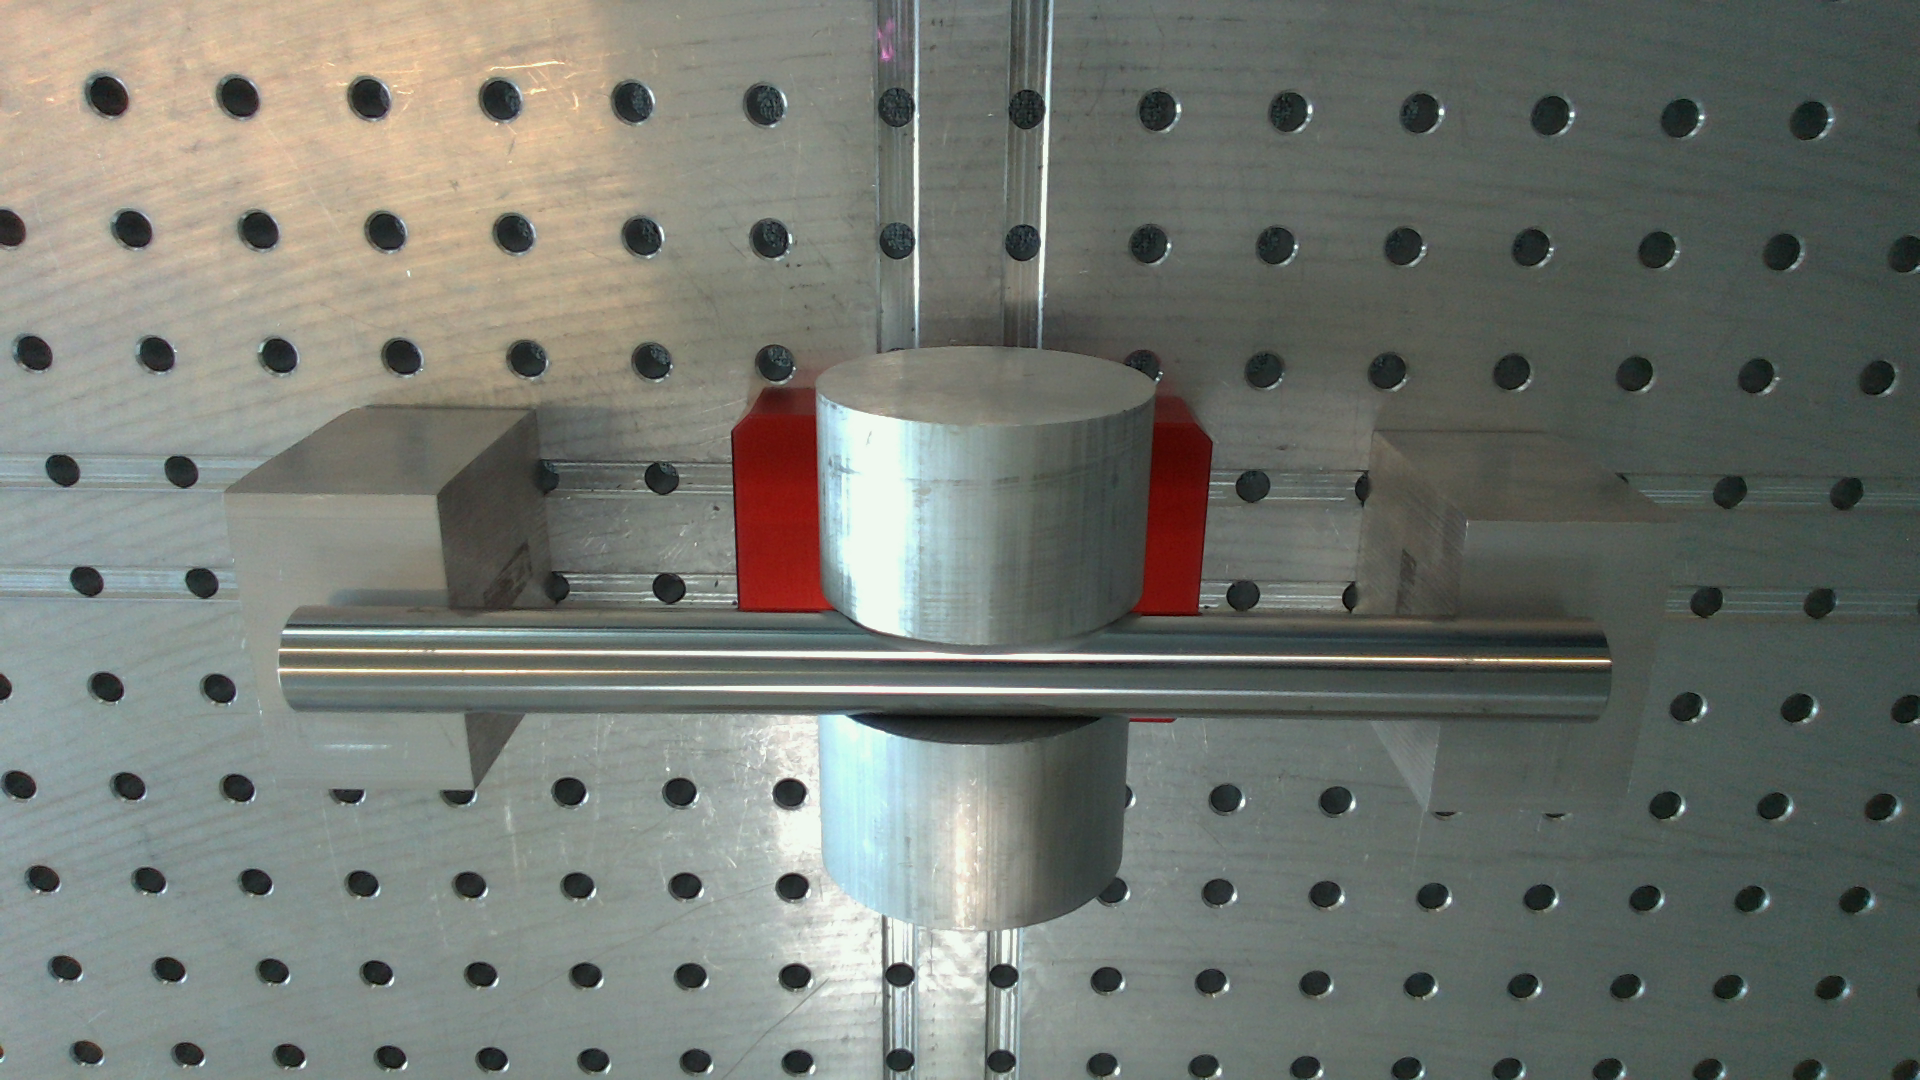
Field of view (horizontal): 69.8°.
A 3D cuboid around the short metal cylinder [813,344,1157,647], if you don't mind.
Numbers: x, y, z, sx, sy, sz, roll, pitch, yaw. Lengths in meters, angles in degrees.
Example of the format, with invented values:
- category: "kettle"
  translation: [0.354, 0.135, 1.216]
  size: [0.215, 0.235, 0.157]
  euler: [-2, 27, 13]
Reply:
- category: "short metal cylinder"
  translation: [0.006, -0.014, 0.330]
  size: [0.080, 0.080, 0.050]
  euler: [1, 110, 0]

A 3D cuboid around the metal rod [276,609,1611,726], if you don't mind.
- category: "metal rod"
  translation: [-0.003, 0.030, 0.322]
  size: [0.300, 0.025, 0.025]
  euler: [1, 110, 0]

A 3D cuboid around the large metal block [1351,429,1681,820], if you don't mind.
- category: "large metal block"
  translation: [0.144, 0.020, 0.374]
  size: [0.050, 0.080, 0.080]
  euler: [1, 110, 0]

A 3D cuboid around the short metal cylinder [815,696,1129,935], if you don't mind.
- category: "short metal cylinder"
  translation: [0.003, 0.057, 0.356]
  size: [0.080, 0.080, 0.050]
  euler: [1, 110, 0]

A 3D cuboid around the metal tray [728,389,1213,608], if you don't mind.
- category: "metal tray"
  translation: [0.002, 0.005, 0.395]
  size: [0.130, 0.030, 0.090]
  euler: [1, 110, -1]

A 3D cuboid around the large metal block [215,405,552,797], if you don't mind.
- category: "large metal block"
  translation: [-0.148, 0.013, 0.370]
  size: [0.050, 0.080, 0.080]
  euler: [1, 110, 0]
